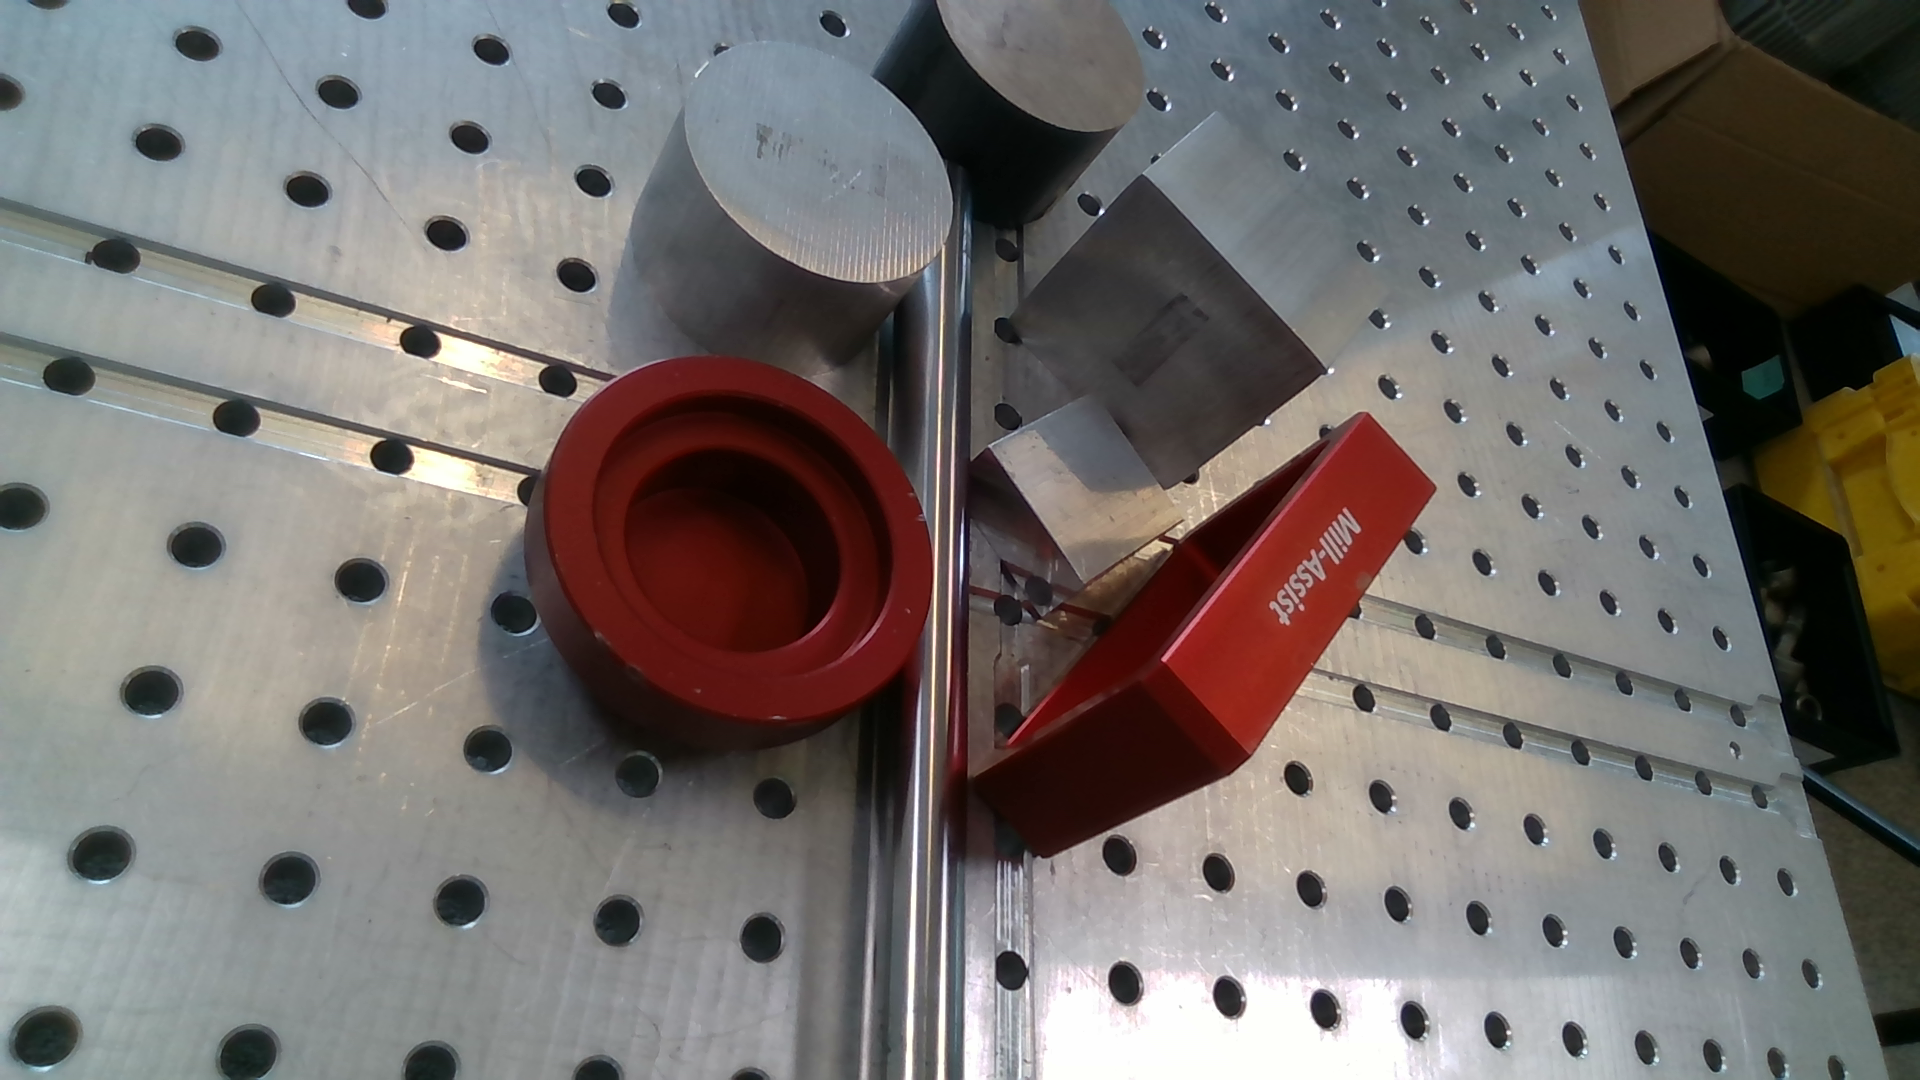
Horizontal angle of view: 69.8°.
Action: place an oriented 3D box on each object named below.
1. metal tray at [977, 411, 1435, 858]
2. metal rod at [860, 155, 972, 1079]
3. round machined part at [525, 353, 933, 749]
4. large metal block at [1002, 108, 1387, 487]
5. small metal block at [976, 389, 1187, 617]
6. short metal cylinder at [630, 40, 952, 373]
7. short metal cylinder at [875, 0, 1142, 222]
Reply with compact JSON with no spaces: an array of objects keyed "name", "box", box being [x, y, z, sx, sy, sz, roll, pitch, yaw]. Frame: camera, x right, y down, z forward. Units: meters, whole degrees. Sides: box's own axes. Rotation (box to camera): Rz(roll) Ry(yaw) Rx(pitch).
[{"name":"metal tray","box":[0.069,0.025,0.383,0.030,0.090,0.130,48,51,-1]},{"name":"metal rod","box":[-0.010,0.013,0.383,0.025,0.025,0.299,15,58,-25]},{"name":"round machined part","box":[-0.060,0.006,0.346,0.098,0.042,0.098,14,59,-25]},{"name":"large metal block","box":[0.074,-0.076,0.448,0.080,0.080,0.050,46,51,-2]},{"name":"small metal block","box":[0.033,-0.012,0.424,0.050,0.025,0.050,-29,83,-39]},{"name":"short metal cylinder","box":[-0.049,-0.096,0.400,0.080,0.050,0.080,14,59,-25]},{"name":"short metal cylinder","box":[0.015,-0.158,0.473,0.080,0.050,0.080,14,59,-25]}]
